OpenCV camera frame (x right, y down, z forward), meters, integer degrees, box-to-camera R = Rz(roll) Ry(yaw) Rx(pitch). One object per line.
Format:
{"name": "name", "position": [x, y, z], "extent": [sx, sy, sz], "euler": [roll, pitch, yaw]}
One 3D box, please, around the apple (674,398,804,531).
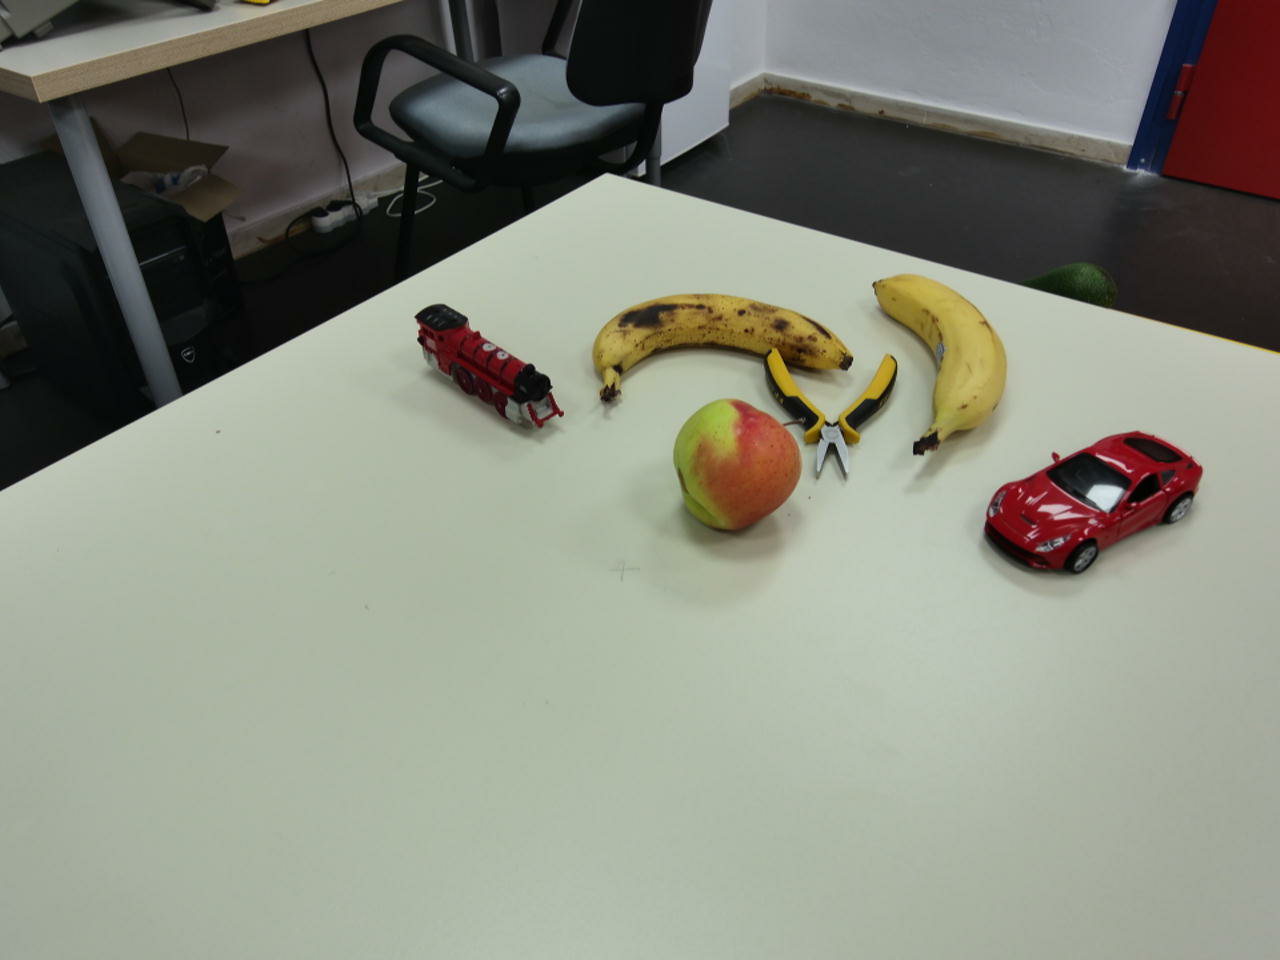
{"name": "apple", "position": [0.055, -0.008, 0.580], "extent": [0.075, 0.074, 0.075], "euler": [11, 38, 14]}
